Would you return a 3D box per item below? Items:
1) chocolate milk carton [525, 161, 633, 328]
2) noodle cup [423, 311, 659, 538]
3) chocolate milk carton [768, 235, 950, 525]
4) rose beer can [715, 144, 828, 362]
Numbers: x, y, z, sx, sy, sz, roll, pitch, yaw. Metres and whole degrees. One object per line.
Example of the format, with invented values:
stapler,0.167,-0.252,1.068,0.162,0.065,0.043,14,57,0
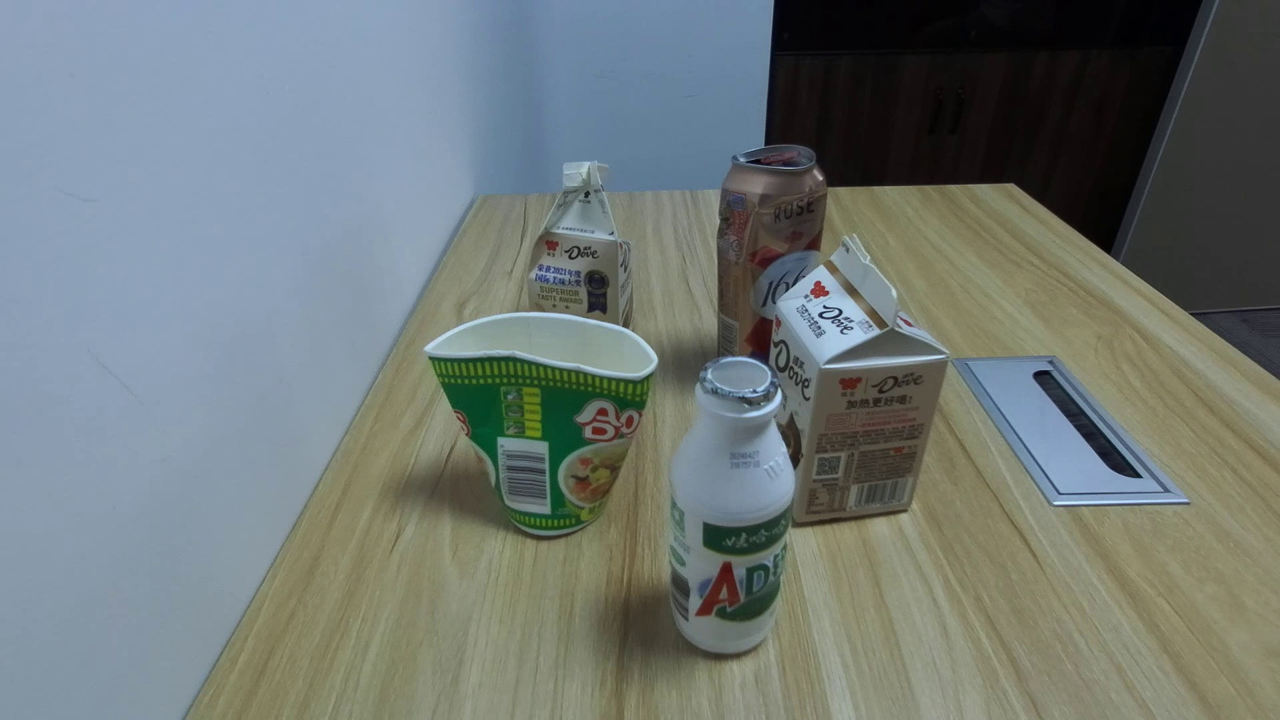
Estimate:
chocolate milk carton,-0.043,-0.080,0.543,0.073,0.155,0.076,5,29,8
noodle cup,-0.049,0.036,0.398,0.114,0.111,0.070,20,41,30
chocolate milk carton,0.118,0.010,0.397,0.074,0.148,0.075,-5,32,-7
rose beer can,0.090,-0.061,0.496,0.076,0.167,0.065,-16,33,-17
